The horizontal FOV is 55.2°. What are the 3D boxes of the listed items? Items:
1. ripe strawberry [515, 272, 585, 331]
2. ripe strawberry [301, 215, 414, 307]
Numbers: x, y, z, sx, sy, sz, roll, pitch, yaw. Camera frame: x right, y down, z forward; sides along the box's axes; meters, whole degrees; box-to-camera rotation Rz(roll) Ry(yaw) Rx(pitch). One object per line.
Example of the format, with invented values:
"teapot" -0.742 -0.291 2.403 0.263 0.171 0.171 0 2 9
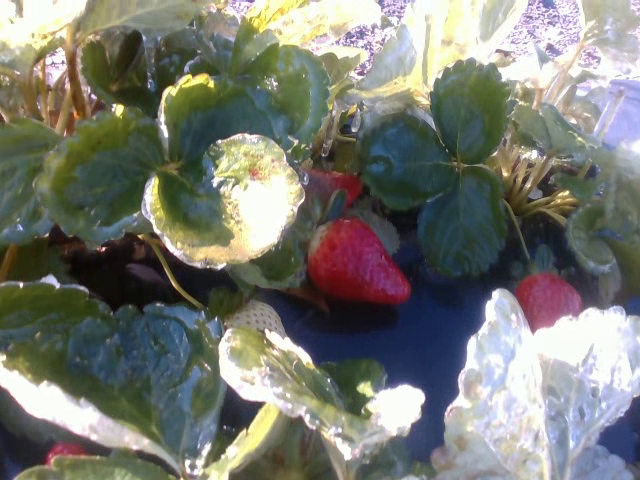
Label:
"ripe strawberry" 0.114 0.035 0.298 0.039 0.047 0.040 30 -46 -9
"ripe strawberry" 0.024 0.011 0.284 0.056 0.044 0.040 39 -36 -2
